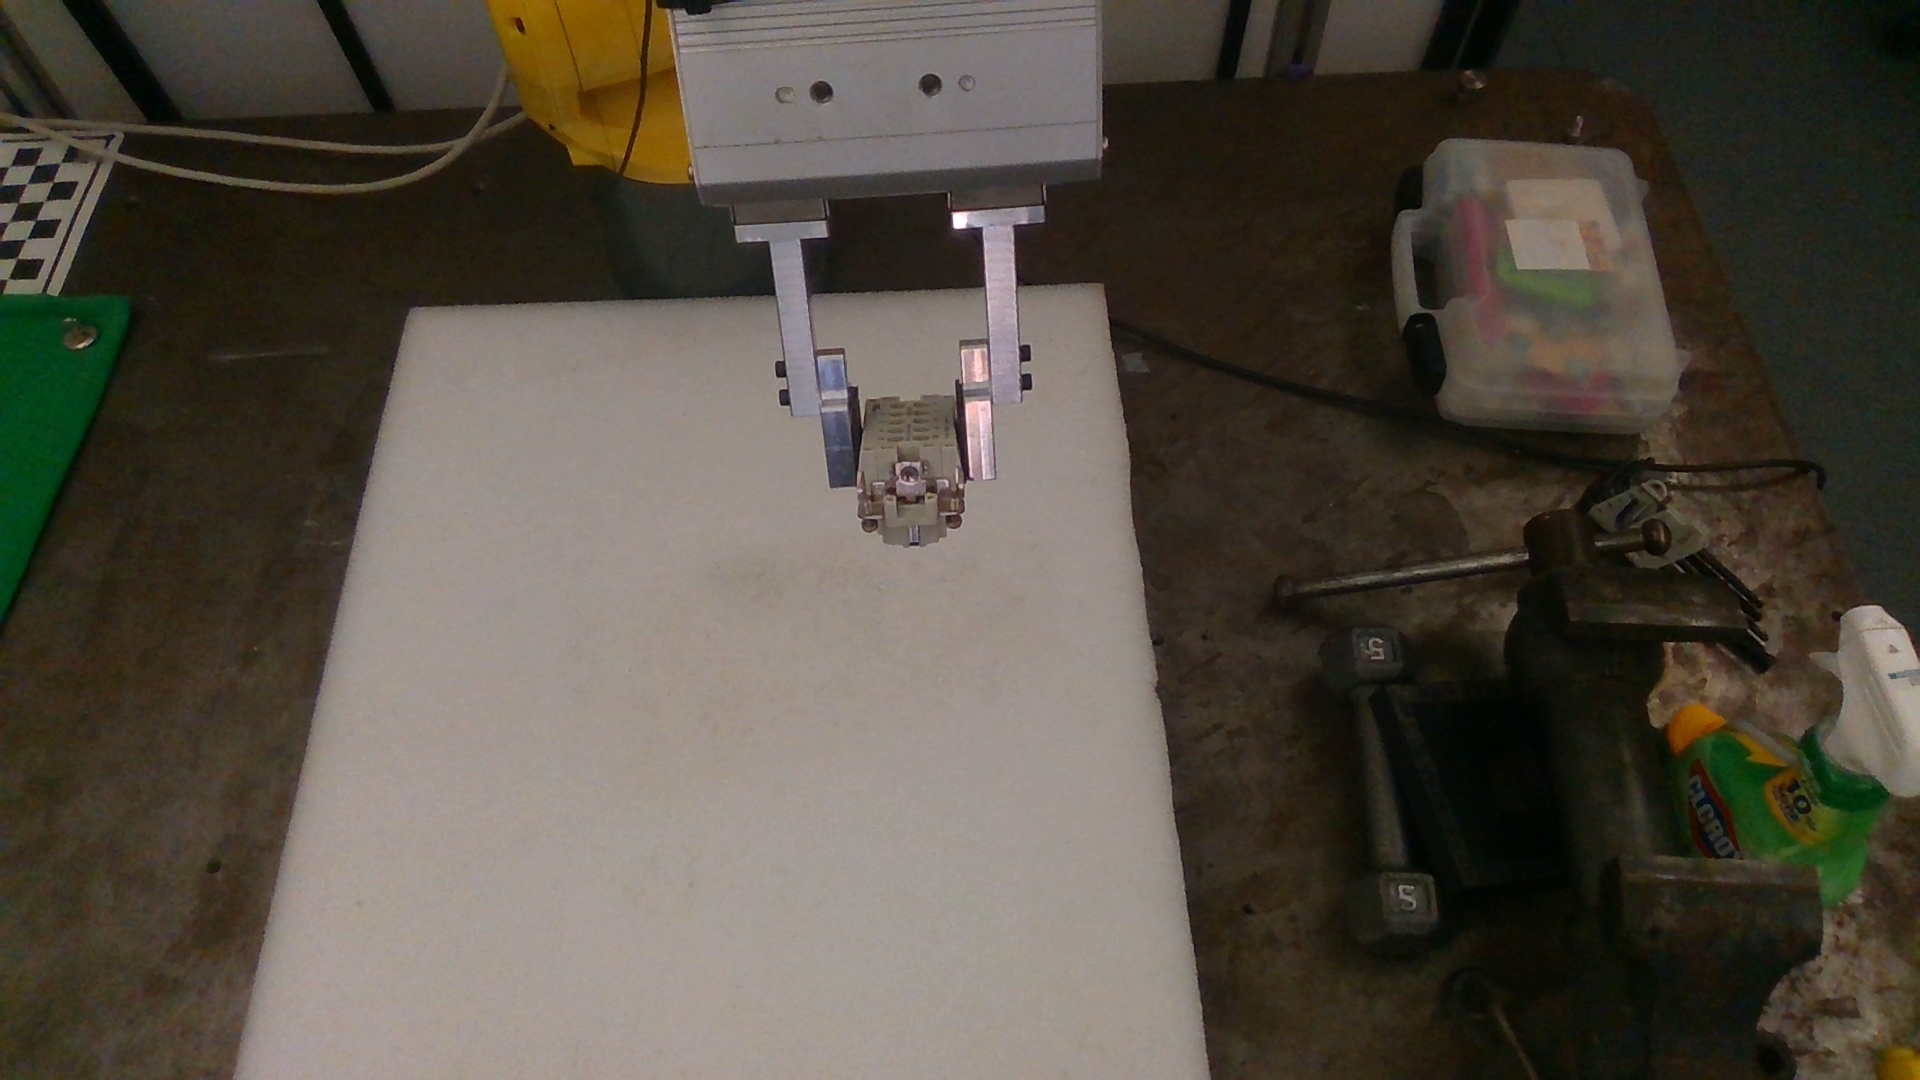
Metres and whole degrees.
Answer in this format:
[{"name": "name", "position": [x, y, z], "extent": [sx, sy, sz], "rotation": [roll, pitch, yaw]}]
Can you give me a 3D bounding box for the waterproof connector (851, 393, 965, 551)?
[{"name": "waterproof connector", "position": [-0.018, -0.024, 0.468], "extent": [0.037, 0.038, 0.069], "rotation": [-1, 26, -3]}]
